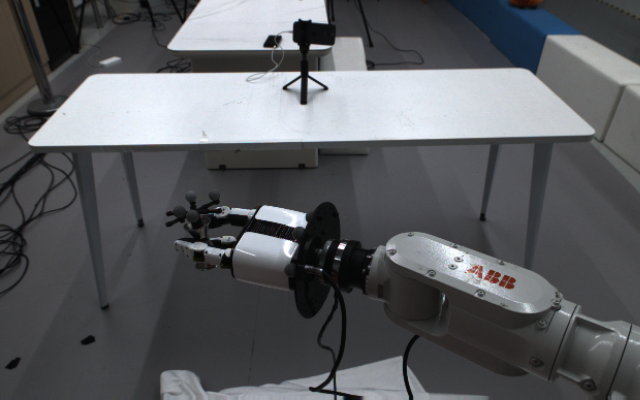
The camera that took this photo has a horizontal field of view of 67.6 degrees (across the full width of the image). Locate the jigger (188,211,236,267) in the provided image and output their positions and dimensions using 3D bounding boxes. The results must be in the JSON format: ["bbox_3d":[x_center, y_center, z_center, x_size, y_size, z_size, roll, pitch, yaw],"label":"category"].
[{"bbox_3d":[-0.169,0.062,0.717,0.043,0.071,0.043,-10,24,4],"label":"jigger"}]
